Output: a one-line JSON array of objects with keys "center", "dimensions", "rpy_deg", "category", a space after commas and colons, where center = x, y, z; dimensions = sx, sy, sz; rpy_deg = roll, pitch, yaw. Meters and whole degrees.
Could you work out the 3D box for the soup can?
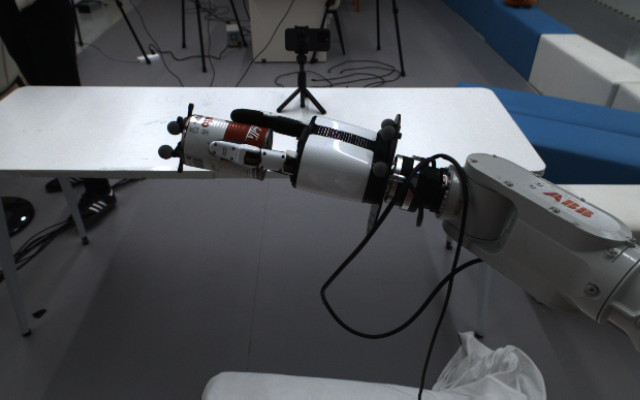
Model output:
[{"center": [-0.115, -0.066, 0.616], "dimensions": [0.101, 0.067, 0.067], "rpy_deg": [11, 35, 0], "category": "soup can"}]
